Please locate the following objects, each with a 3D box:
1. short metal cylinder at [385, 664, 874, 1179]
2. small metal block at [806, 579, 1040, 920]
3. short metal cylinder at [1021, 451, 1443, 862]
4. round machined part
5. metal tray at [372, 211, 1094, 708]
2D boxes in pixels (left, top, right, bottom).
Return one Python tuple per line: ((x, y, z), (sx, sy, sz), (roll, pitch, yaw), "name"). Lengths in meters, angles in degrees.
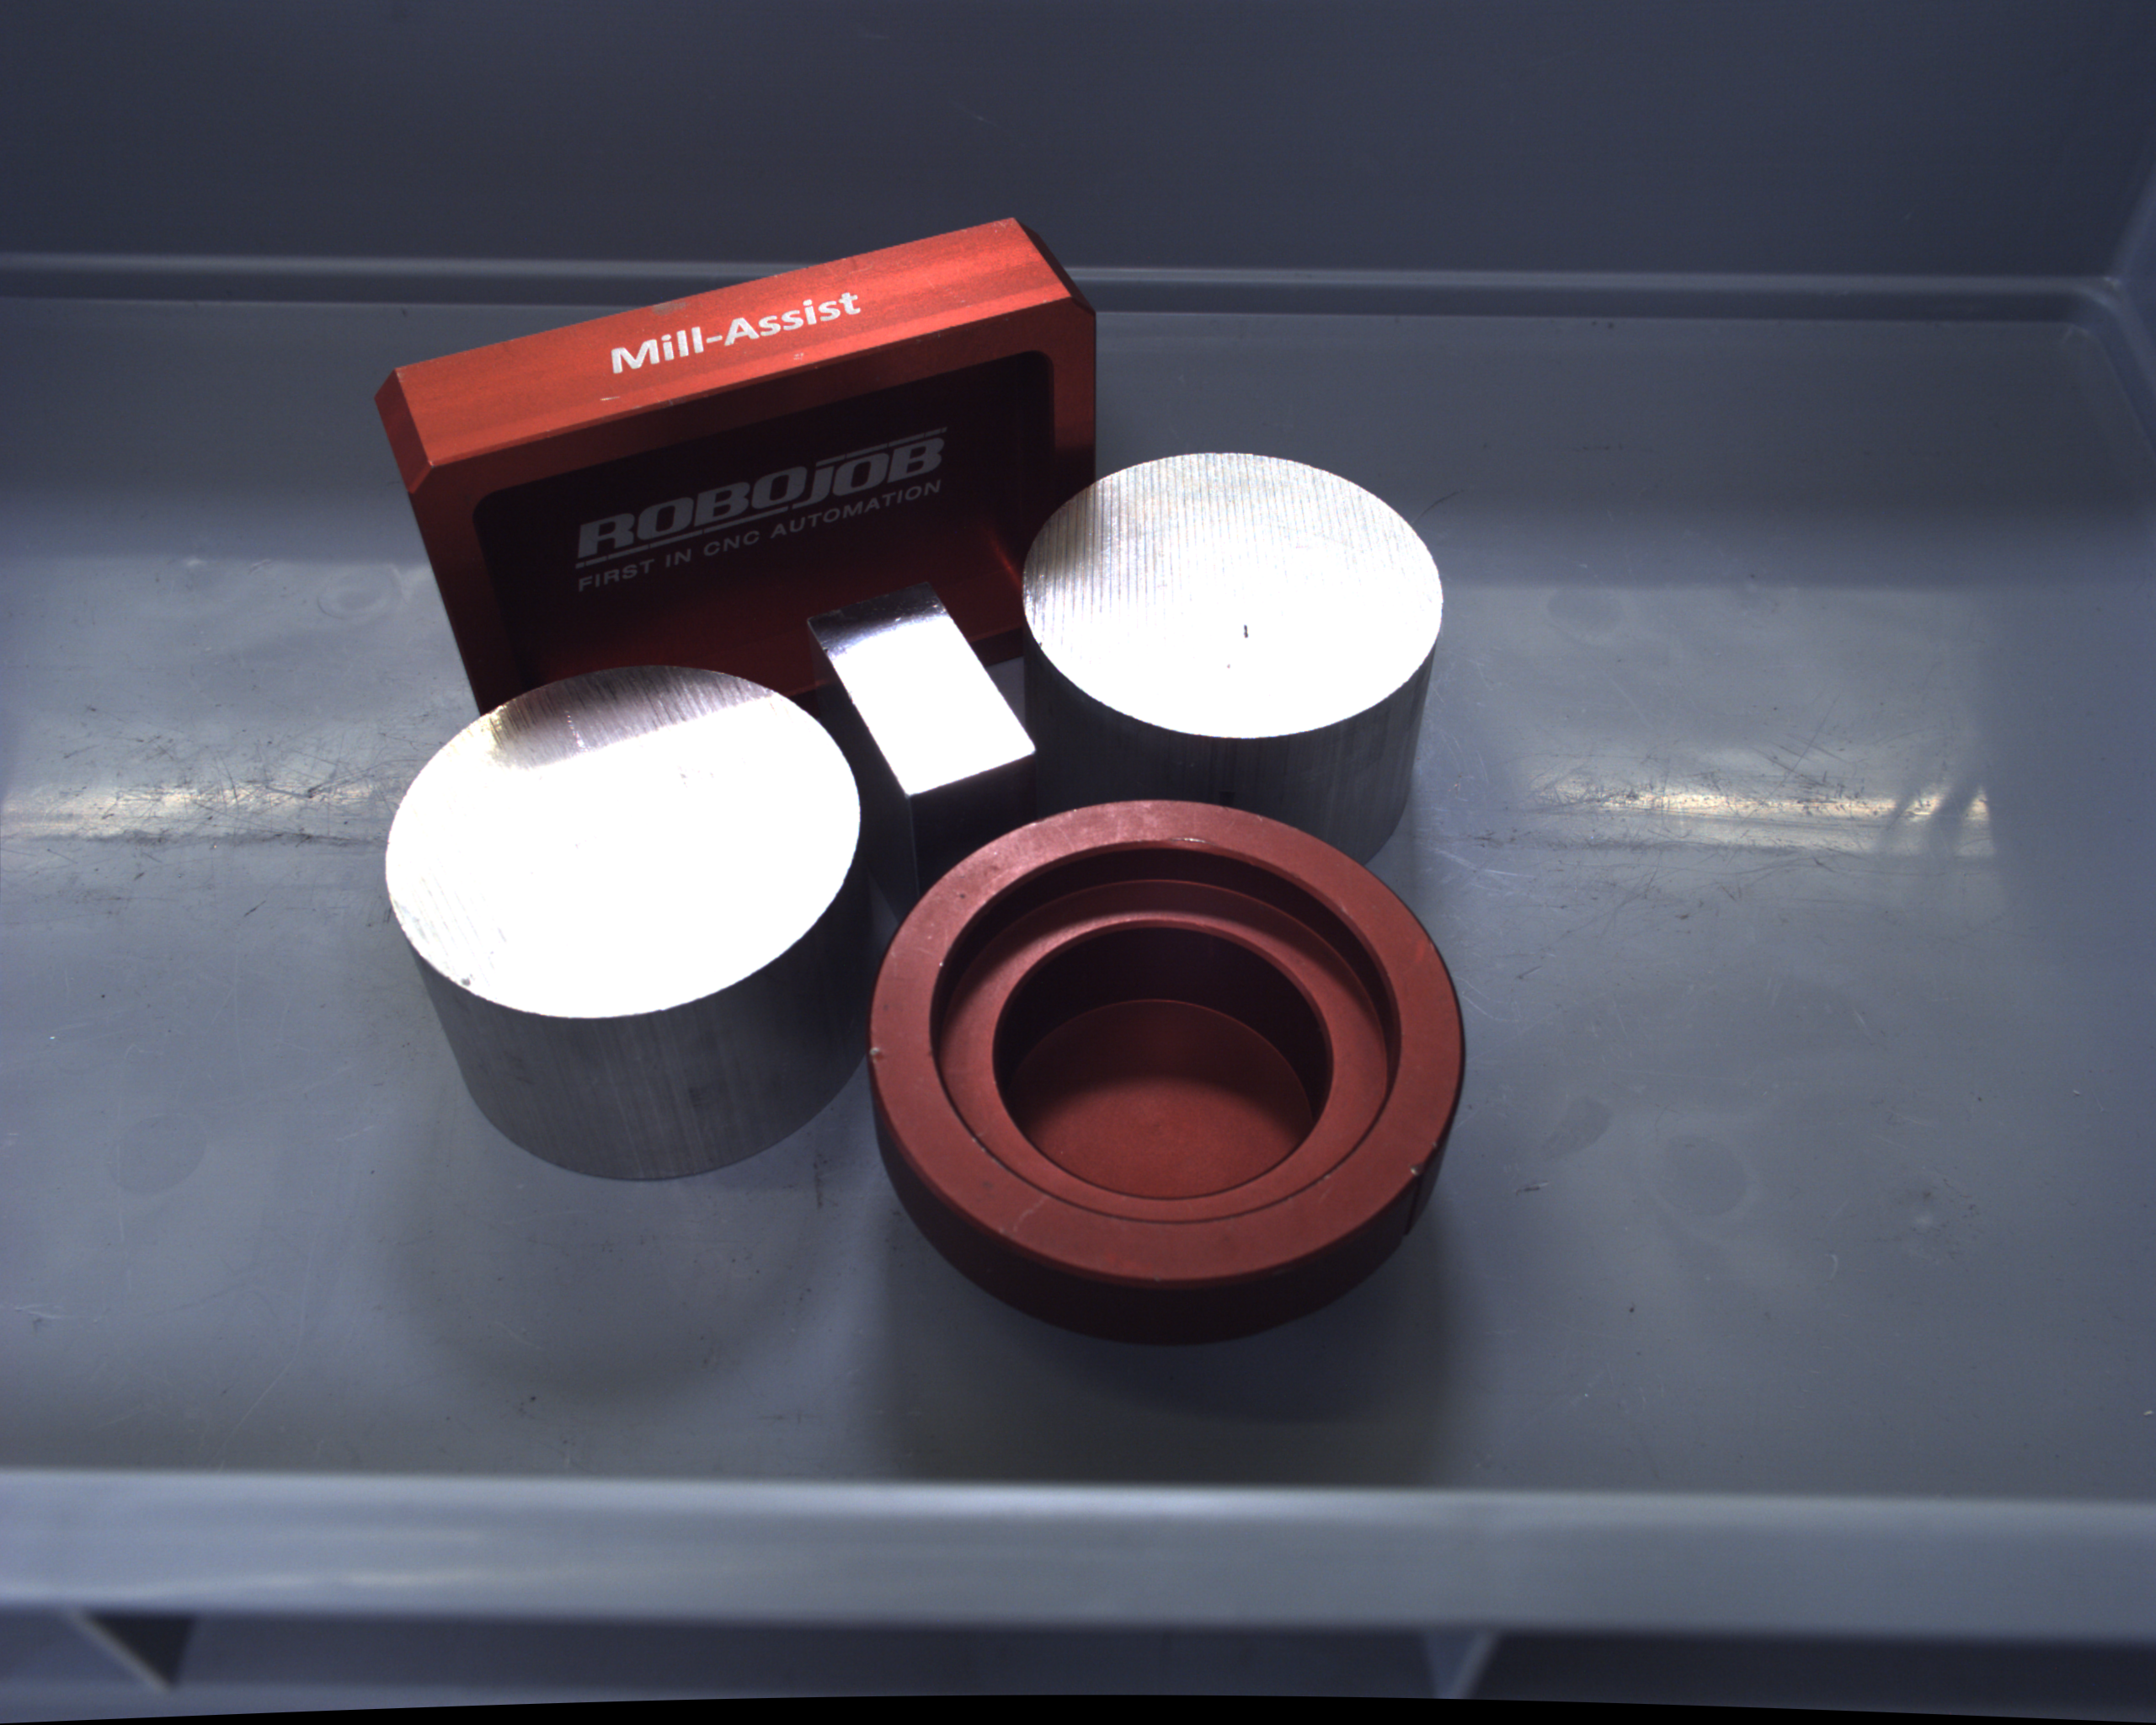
((-0.078, 0.010, 0.377), (0.081, 0.050, 0.080), (0, 50, 0), "short metal cylinder")
((-0.029, -0.017, 0.400), (0.025, 0.050, 0.050), (-20, 53, -16), "small metal block")
((0.029, -0.037, 0.418), (0.081, 0.050, 0.080), (0, 50, 0), "short metal cylinder")
((0.014, 0.039, 0.359), (0.099, 0.042, 0.098), (0, 50, 0), "round machined part")
((-0.062, -0.070, 0.418), (0.131, 0.090, 0.030), (-19, 53, -15), "metal tray")
